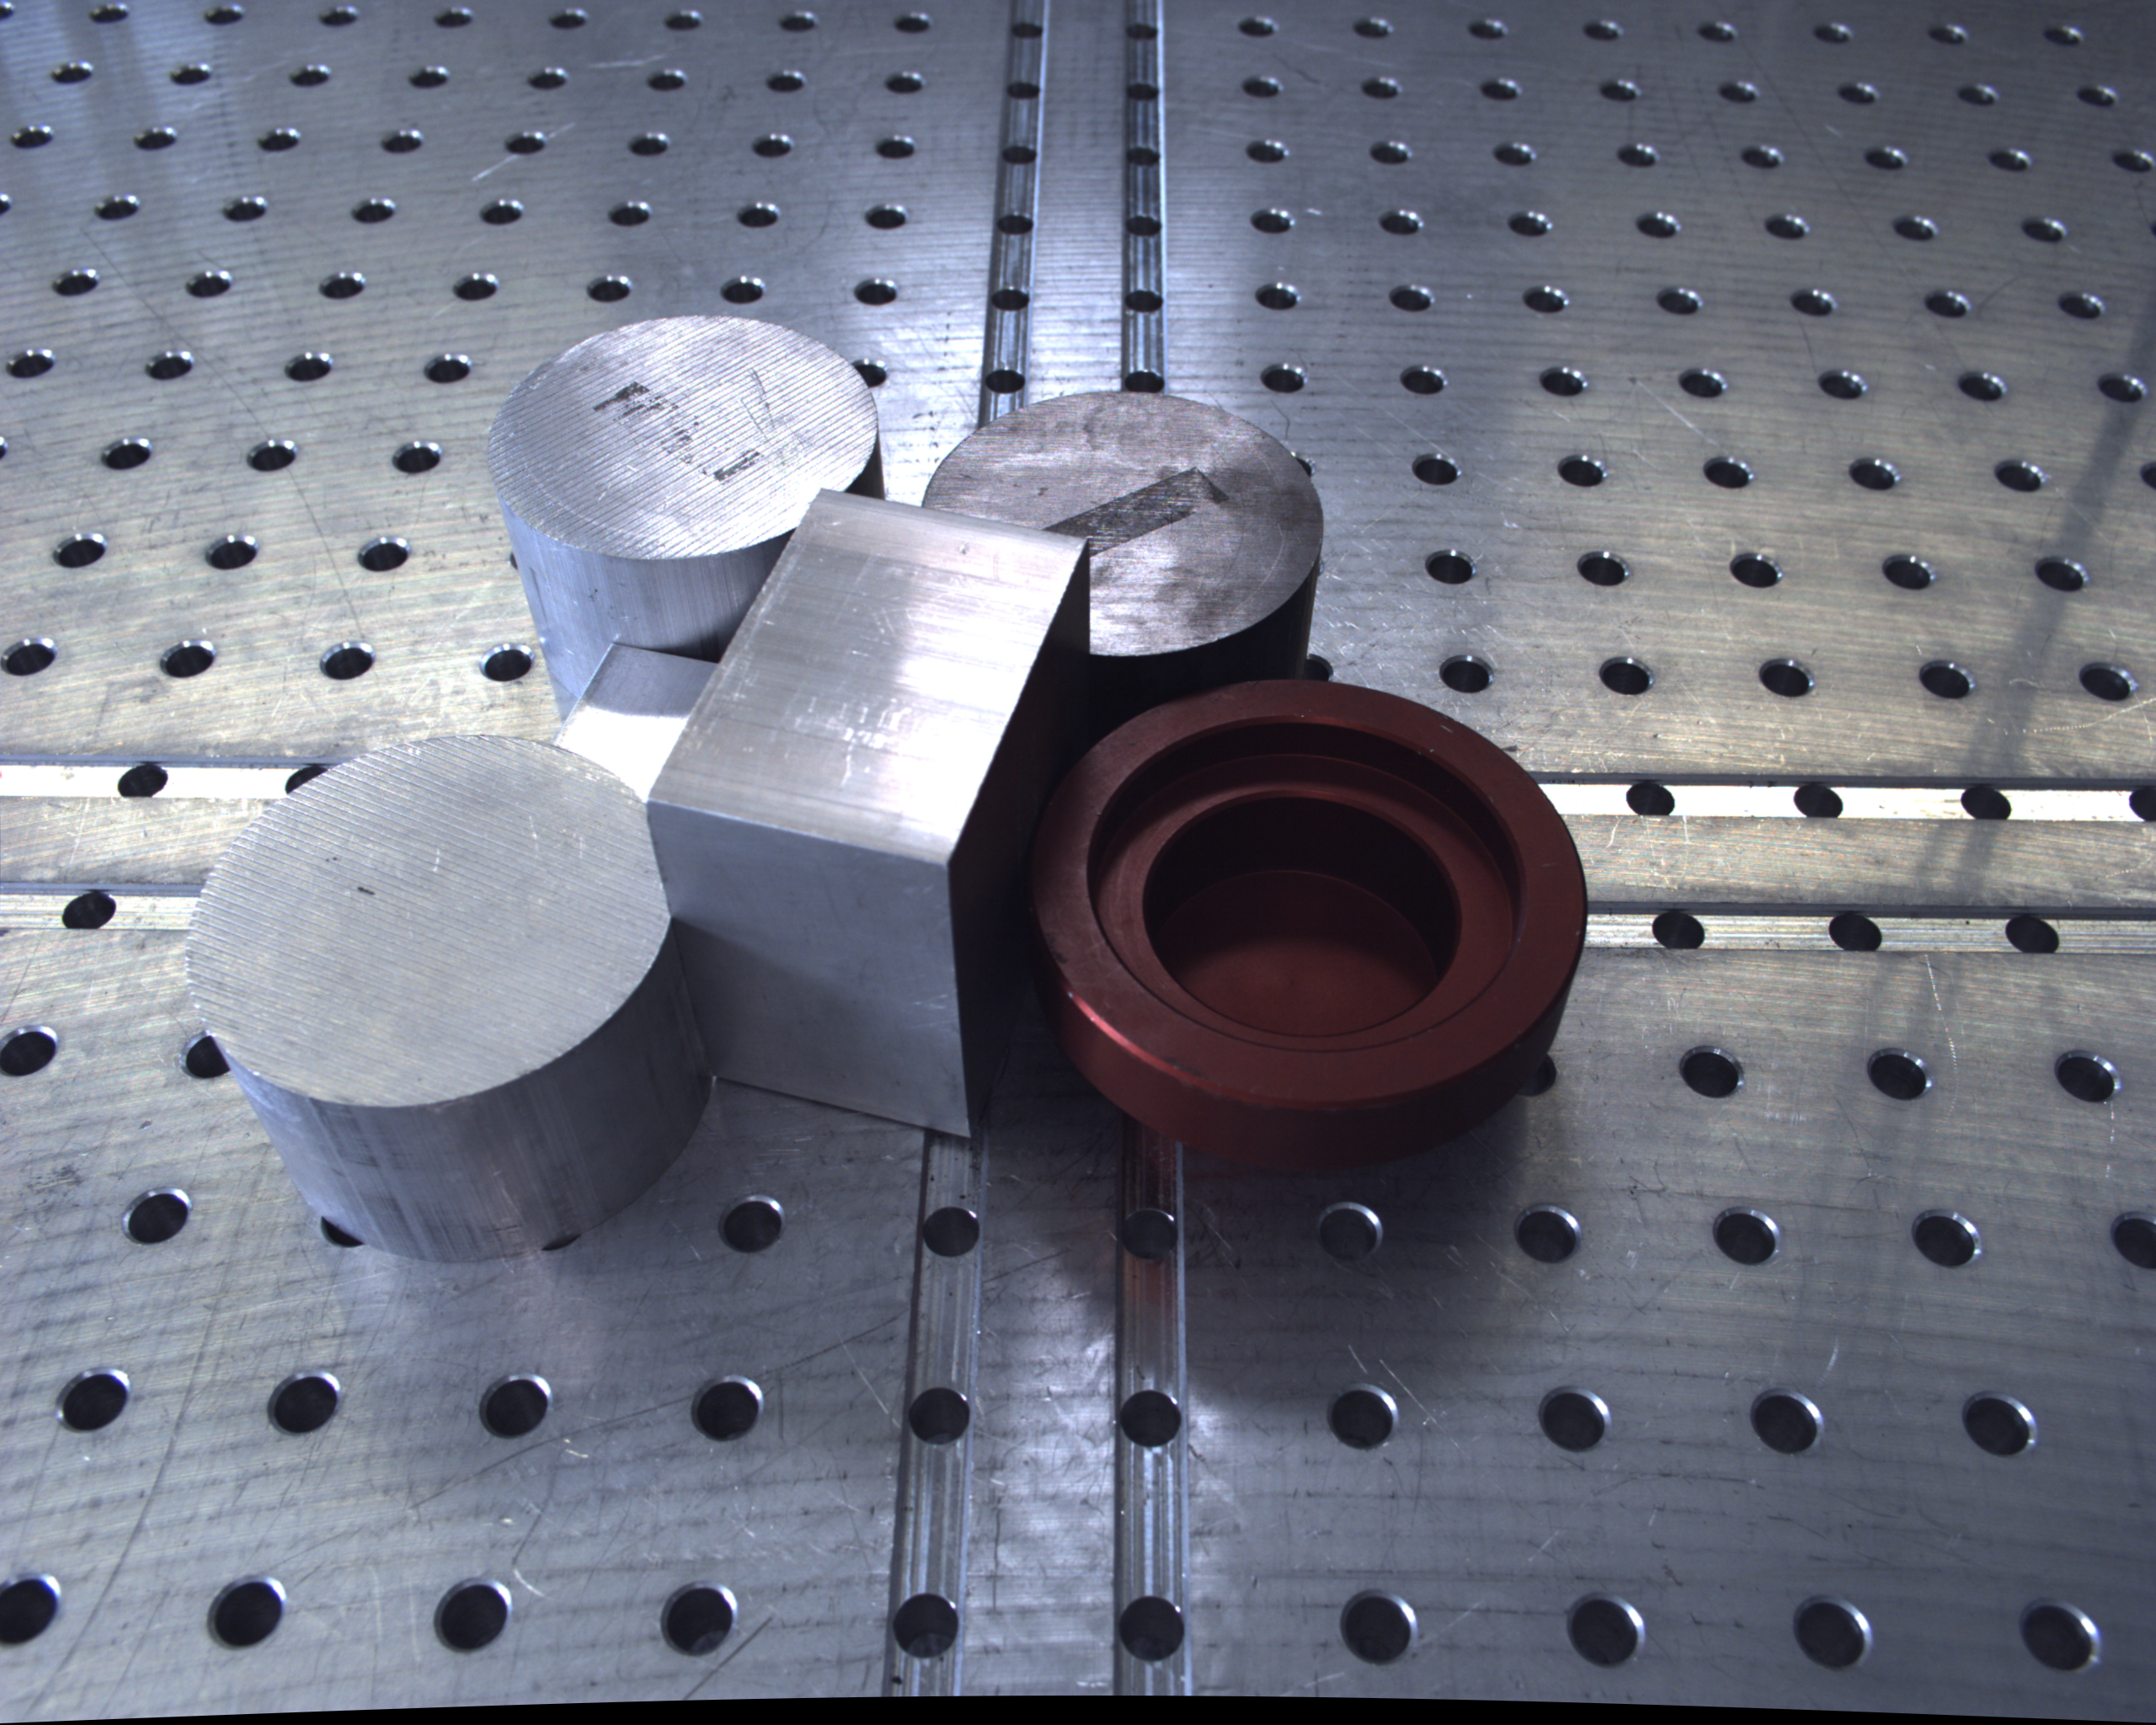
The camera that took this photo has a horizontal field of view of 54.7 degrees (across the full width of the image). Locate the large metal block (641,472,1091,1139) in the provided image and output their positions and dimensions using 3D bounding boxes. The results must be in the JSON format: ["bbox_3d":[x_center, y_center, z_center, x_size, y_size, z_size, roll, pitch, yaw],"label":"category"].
[{"bbox_3d":[-0.033,-0.010,0.376,0.050,0.080,0.080,12,51,10],"label":"large metal block"}]

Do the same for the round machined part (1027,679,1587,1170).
[{"bbox_3d":[0.040,0.015,0.384,0.099,0.042,0.098,0,50,0],"label":"round machined part"}]

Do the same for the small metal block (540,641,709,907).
[{"bbox_3d":[-0.079,-0.014,0.418,0.050,0.025,0.050,12,51,9],"label":"small metal block"}]

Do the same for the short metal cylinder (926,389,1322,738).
[{"bbox_3d":[0.009,-0.054,0.436,0.080,0.050,0.080,0,50,0],"label":"short metal cylinder"}]

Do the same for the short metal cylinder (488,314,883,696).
[{"bbox_3d":[-0.082,-0.074,0.453,0.080,0.050,0.080,0,50,0],"label":"short metal cylinder"}]

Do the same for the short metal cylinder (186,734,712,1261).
[{"bbox_3d":[-0.108,0.023,0.371,0.080,0.050,0.080,0,50,0],"label":"short metal cylinder"}]
